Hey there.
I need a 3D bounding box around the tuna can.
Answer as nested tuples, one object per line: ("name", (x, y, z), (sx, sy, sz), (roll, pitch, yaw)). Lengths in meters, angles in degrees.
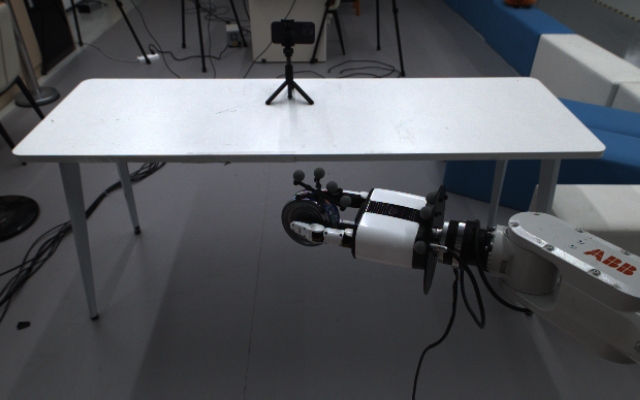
("tuna can", (-0.014, 0.028, 0.742), (0.085, 0.085, 0.034), (15, 31, 18))
